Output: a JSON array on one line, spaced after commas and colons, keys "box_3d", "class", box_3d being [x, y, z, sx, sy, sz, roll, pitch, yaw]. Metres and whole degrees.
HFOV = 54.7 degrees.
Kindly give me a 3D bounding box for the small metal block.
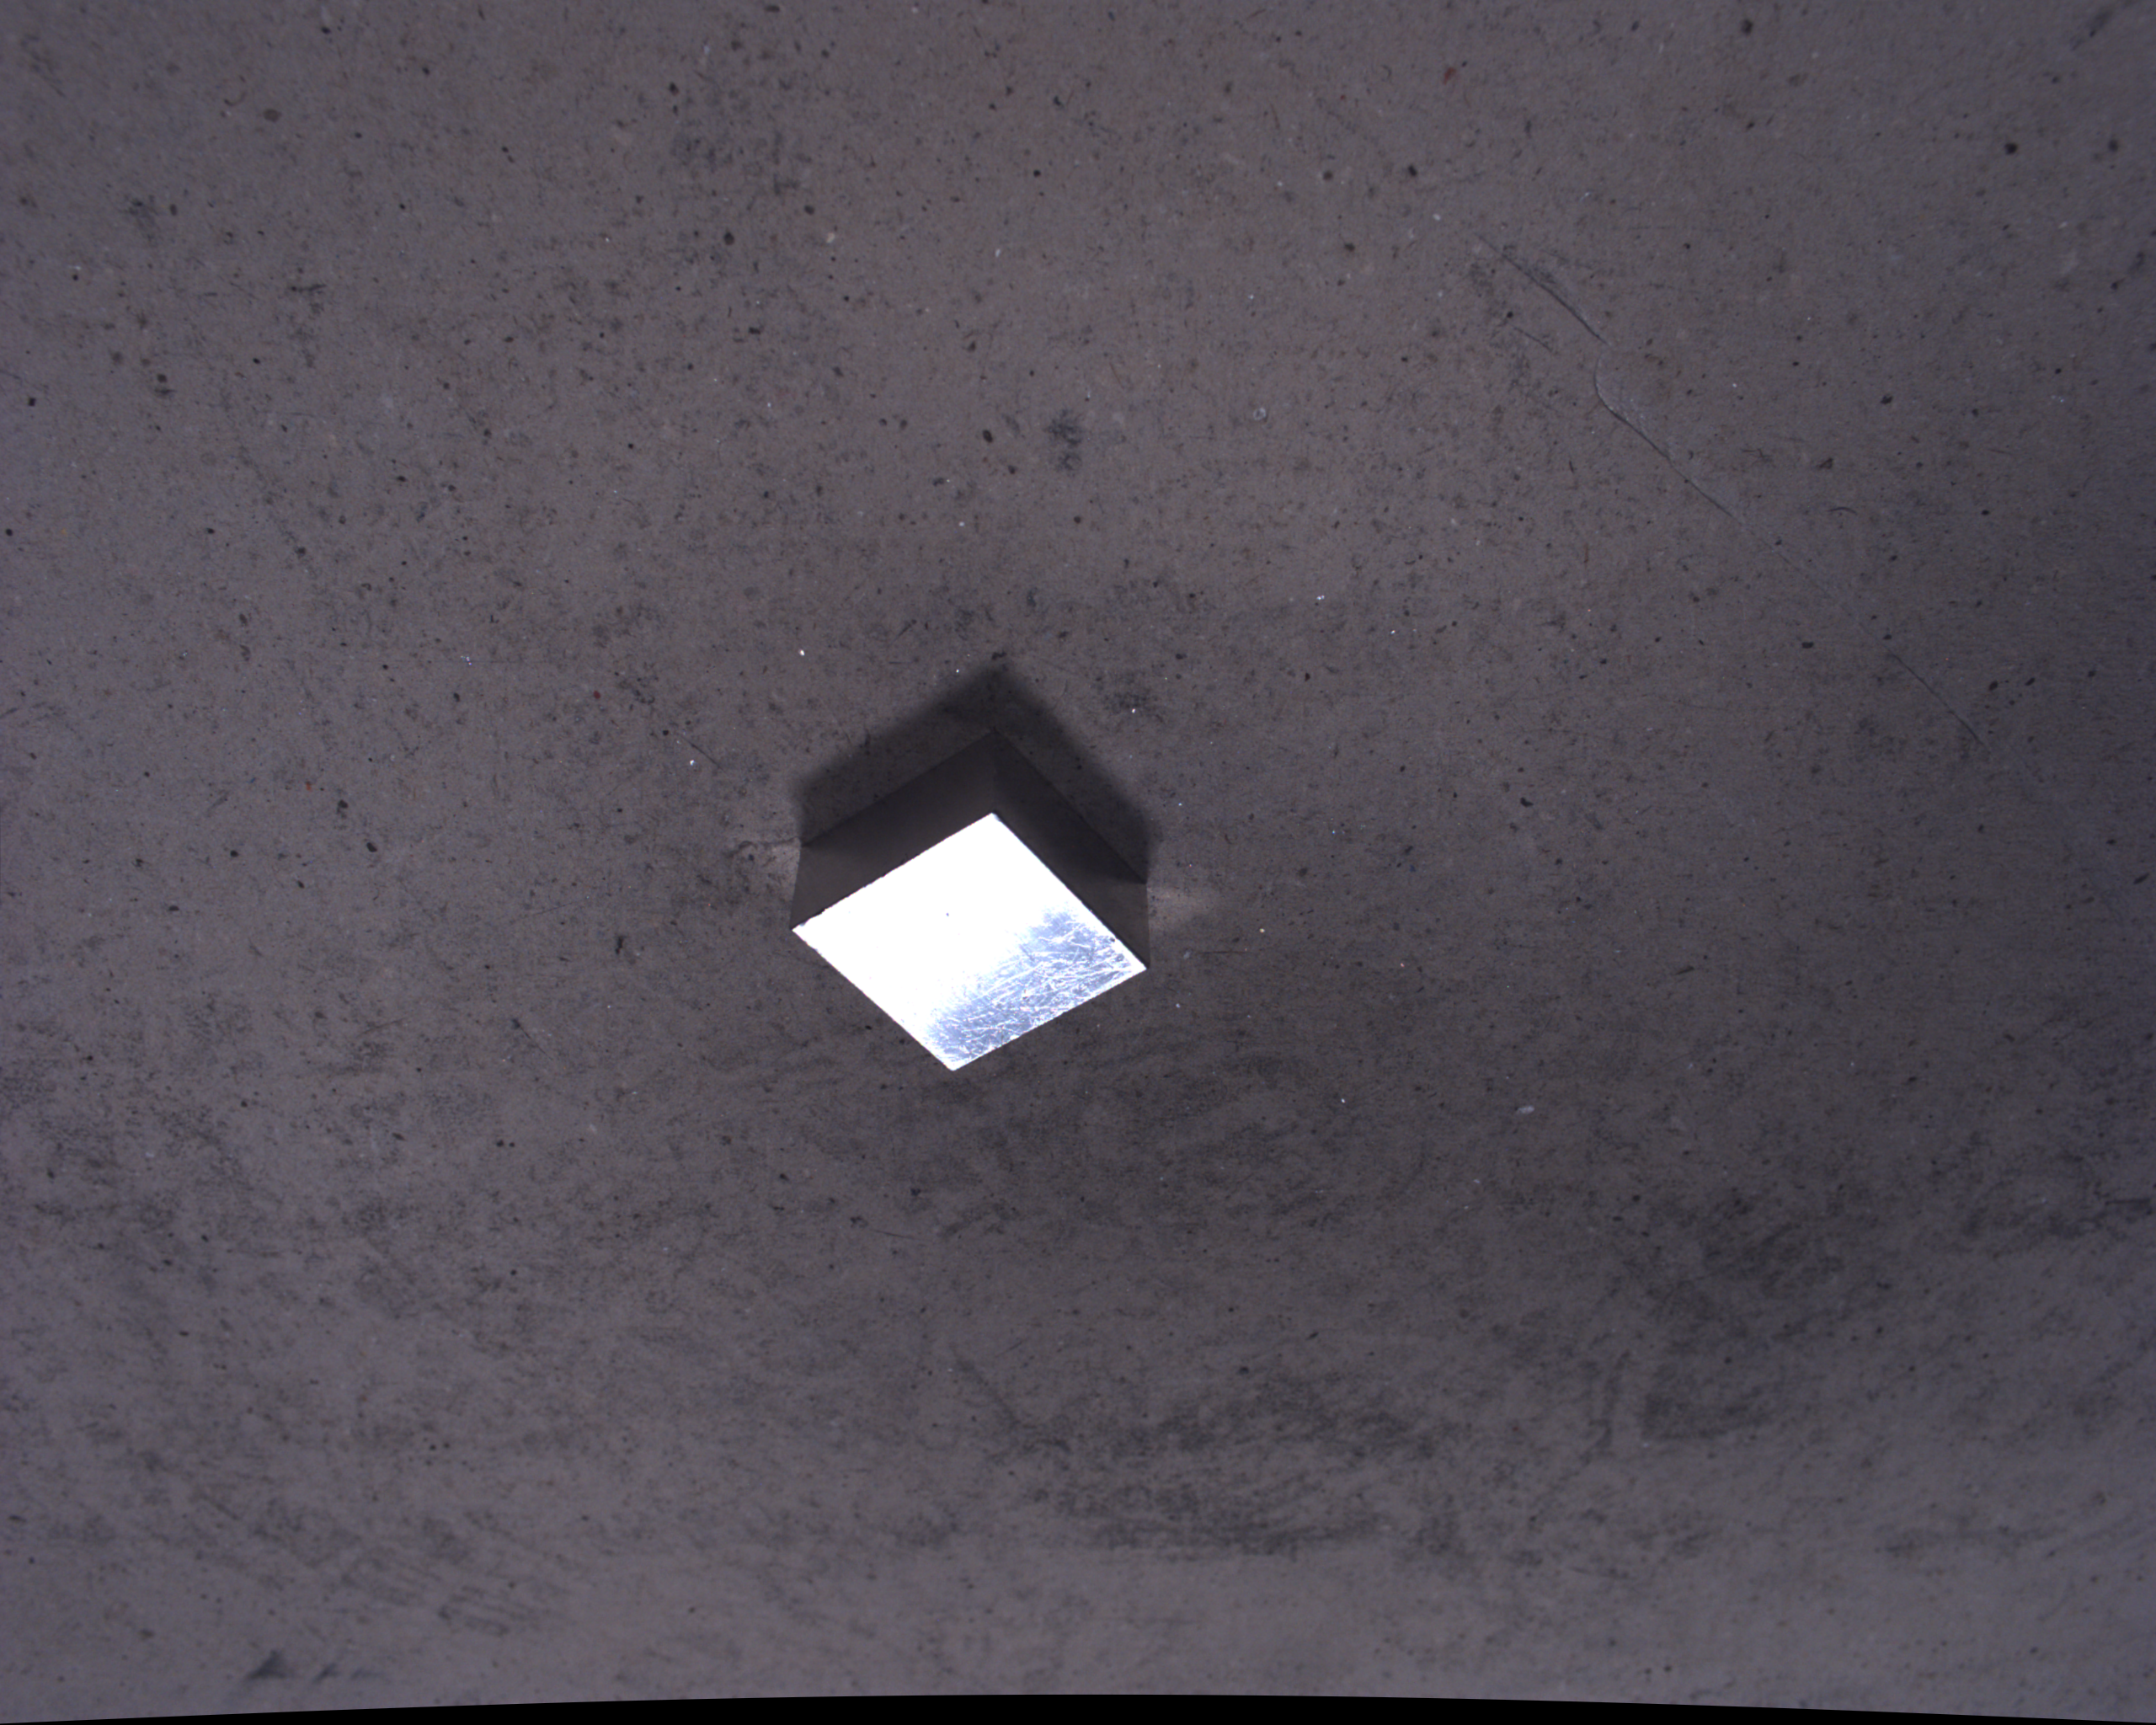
[{"box_3d": [-0.021, 0.009, 0.416, 0.050, 0.025, 0.050, -30, 125, 22], "class": "small metal block"}]
